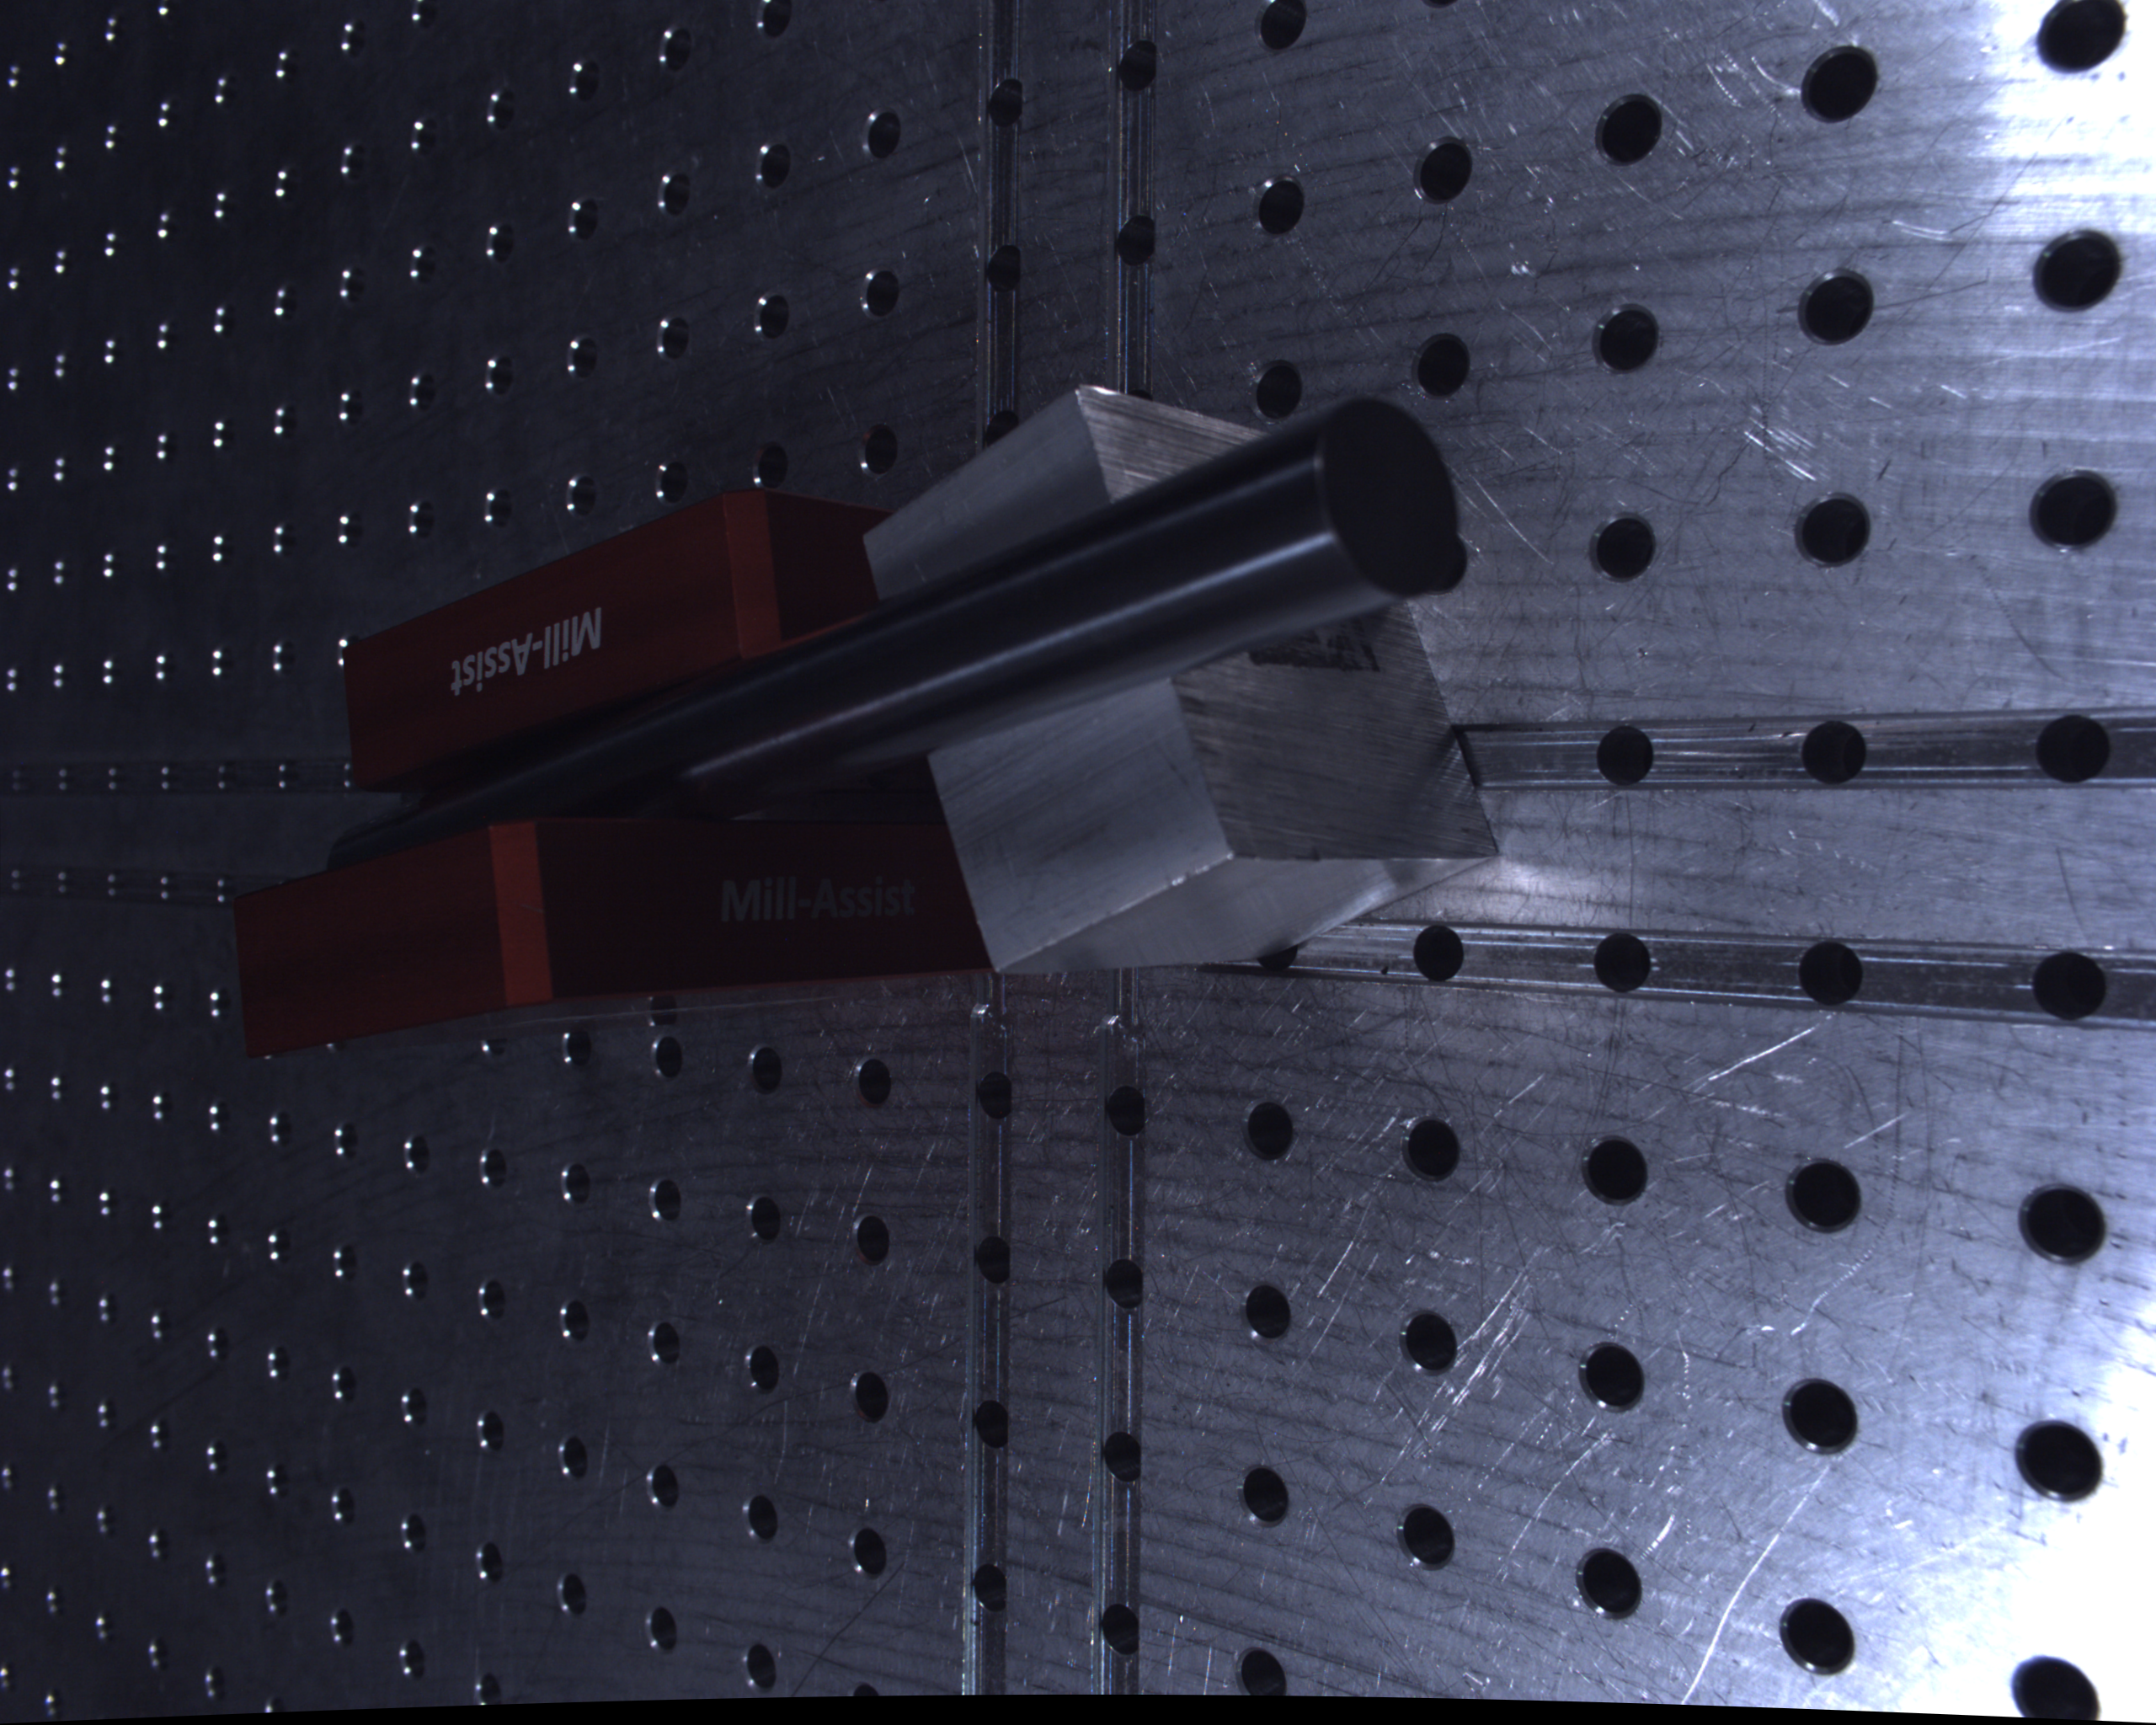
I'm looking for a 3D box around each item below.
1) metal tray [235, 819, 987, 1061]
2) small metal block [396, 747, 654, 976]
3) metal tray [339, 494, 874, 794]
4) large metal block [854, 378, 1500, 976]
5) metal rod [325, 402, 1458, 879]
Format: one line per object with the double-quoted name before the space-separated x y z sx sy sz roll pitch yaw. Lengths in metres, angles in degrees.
"metal tray" -0.080 0.014 0.404 0.090 0.131 0.030 -12 83 39
"small metal block" -0.132 0.000 0.498 0.025 0.050 0.050 -11 83 39
"metal tray" -0.076 -0.039 0.426 0.130 0.091 0.030 -11 84 39
"large metal block" 0.018 -0.028 0.356 0.050 0.081 0.080 -28 73 36
"metal rod" -0.060 -0.020 0.359 0.299 0.025 0.025 -13 82 48
